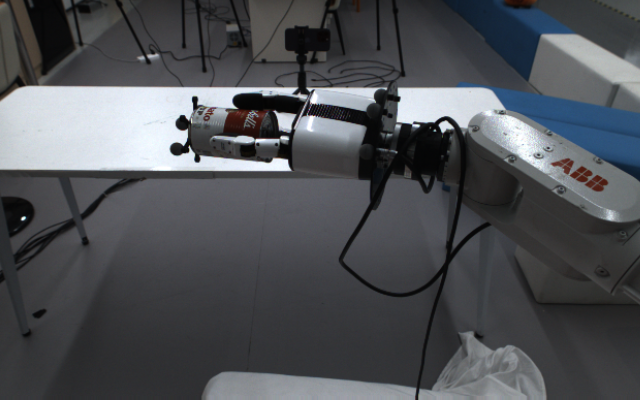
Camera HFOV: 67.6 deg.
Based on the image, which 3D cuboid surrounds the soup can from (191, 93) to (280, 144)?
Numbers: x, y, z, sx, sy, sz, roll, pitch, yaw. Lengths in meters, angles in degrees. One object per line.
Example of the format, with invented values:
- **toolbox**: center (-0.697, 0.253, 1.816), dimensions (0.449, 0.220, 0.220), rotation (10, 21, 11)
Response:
- **soup can**: center (-0.112, -0.087, 0.641), dimensions (0.101, 0.067, 0.067), rotation (7, 35, 12)
